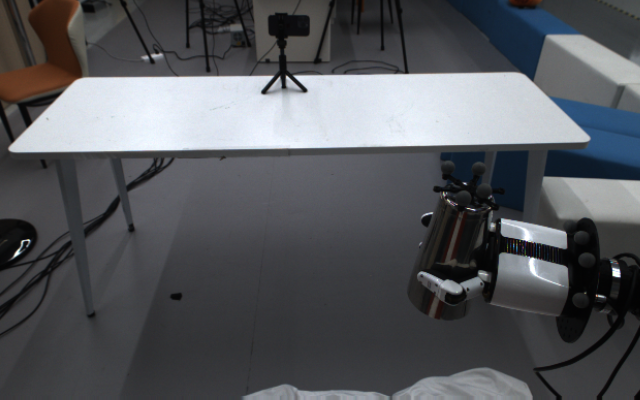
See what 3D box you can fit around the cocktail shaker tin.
[{"bbox_3d":[0.177,0.063,0.638,0.093,0.170,0.093,3,34,-2],"label":"cocktail shaker tin"}]
